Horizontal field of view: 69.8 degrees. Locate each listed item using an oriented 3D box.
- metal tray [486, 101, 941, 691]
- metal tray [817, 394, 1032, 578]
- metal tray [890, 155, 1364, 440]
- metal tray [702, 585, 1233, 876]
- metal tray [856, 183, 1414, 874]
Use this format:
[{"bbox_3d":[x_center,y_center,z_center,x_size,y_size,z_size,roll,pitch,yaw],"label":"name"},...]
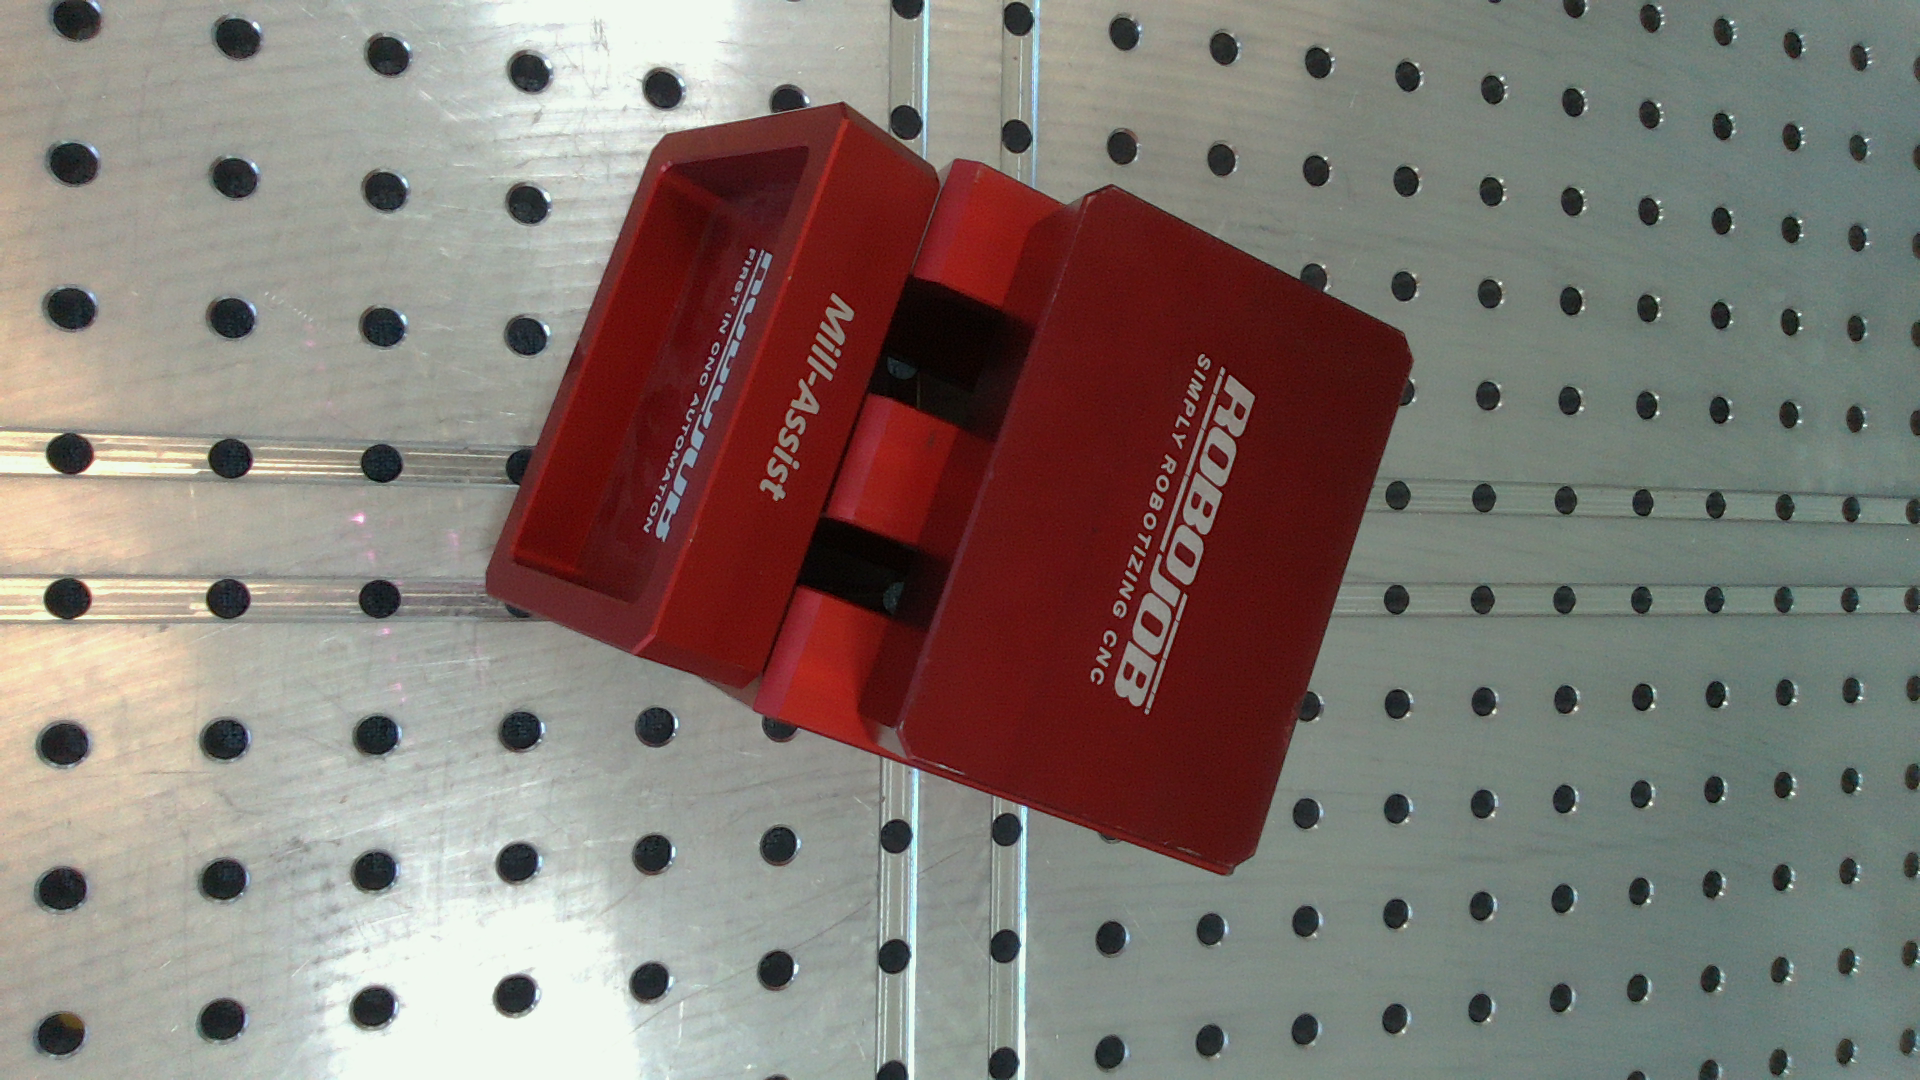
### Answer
[{"bbox_3d":[-0.063,-0.037,0.335,0.030,0.090,0.130,26,81,-40],"label":"metal tray"},{"bbox_3d":[0.018,0.003,0.367,0.130,0.090,0.030,21,82,-20],"label":"metal tray"},{"bbox_3d":[0.038,-0.053,0.374,0.130,0.090,0.030,22,83,-18],"label":"metal tray"},{"bbox_3d":[0.002,0.047,0.362,0.130,0.090,0.030,22,83,-19],"label":"metal tray"},{"bbox_3d":[0.041,-0.001,0.312,0.090,0.030,0.130,22,83,-18],"label":"metal tray"}]
